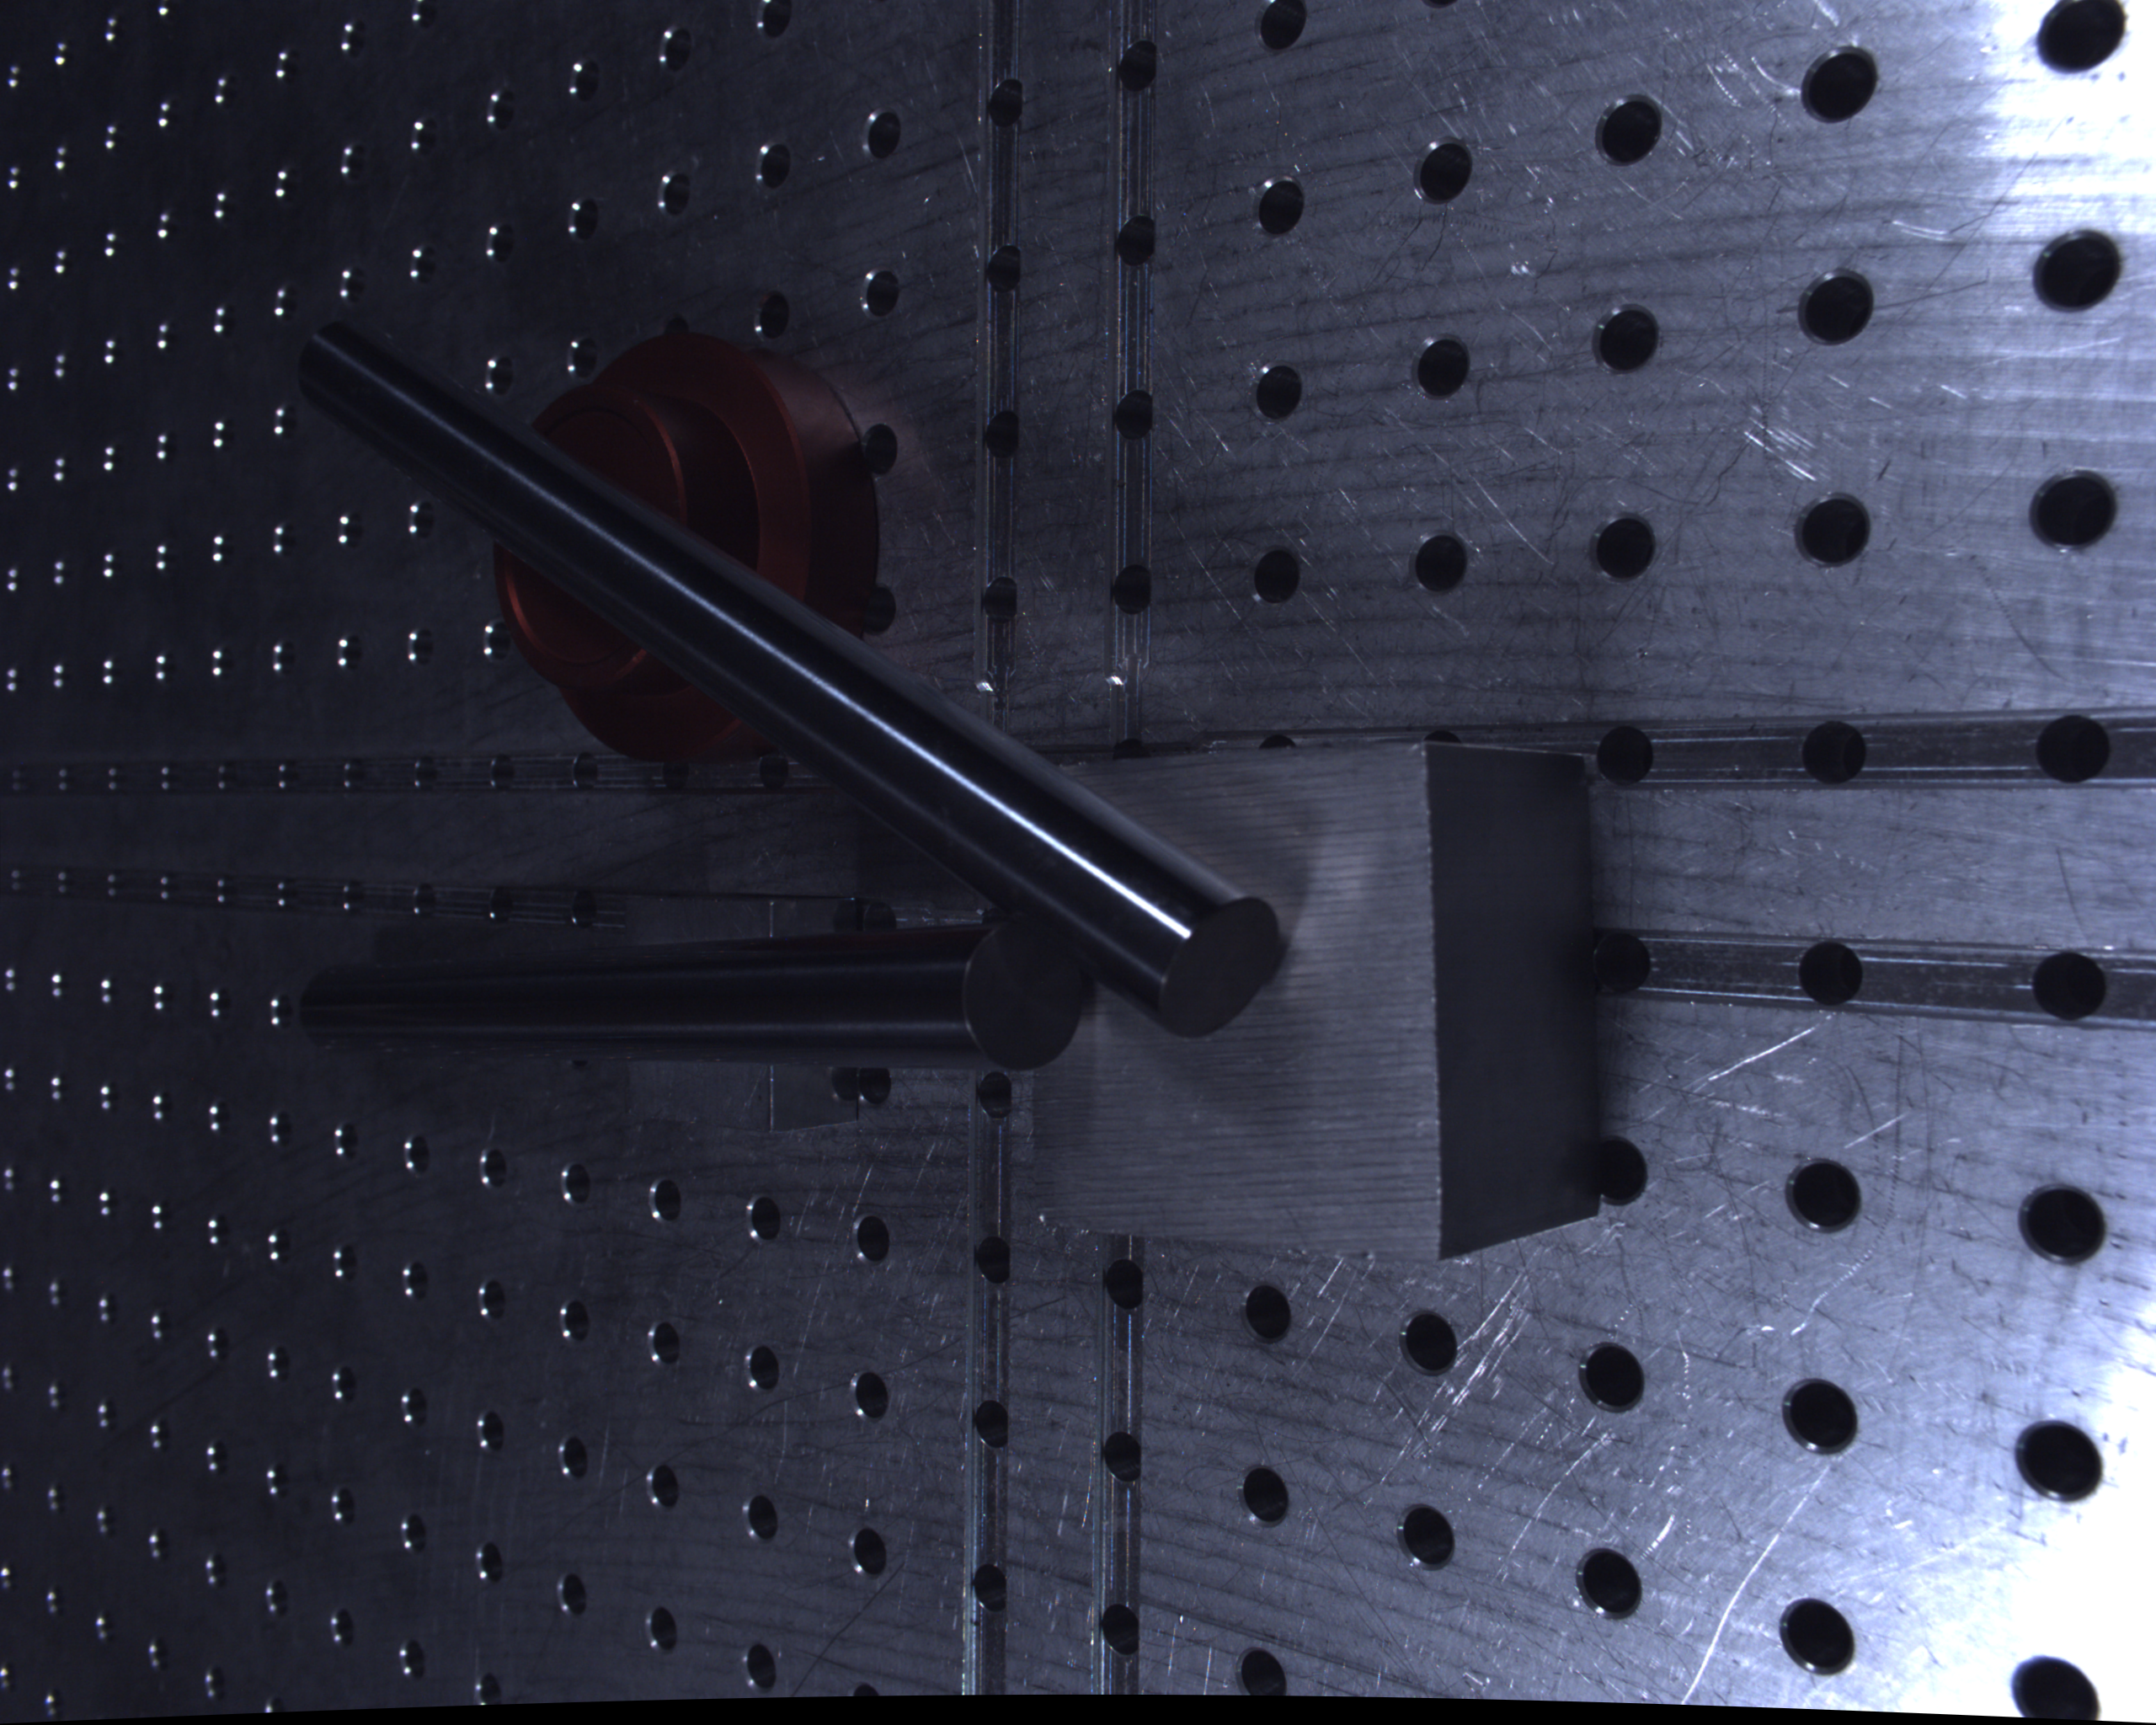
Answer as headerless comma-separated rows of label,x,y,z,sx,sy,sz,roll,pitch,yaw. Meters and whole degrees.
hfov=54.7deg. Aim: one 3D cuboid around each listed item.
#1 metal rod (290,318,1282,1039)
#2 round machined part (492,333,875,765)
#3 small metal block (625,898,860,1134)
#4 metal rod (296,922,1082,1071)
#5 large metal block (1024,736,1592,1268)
metal rod,-0.077,-0.051,0.408,0.300,0.025,0.025,34,111,37
round machined part,-0.096,-0.071,0.474,0.098,0.042,0.097,0,90,39
small metal block,-0.076,0.033,0.470,0.050,0.025,0.050,0,90,39
metal rod,-0.105,0.031,0.458,0.299,0.025,0.025,-5,87,50
large metal block,0.038,0.022,0.356,0.080,0.050,0.079,-2,89,39
